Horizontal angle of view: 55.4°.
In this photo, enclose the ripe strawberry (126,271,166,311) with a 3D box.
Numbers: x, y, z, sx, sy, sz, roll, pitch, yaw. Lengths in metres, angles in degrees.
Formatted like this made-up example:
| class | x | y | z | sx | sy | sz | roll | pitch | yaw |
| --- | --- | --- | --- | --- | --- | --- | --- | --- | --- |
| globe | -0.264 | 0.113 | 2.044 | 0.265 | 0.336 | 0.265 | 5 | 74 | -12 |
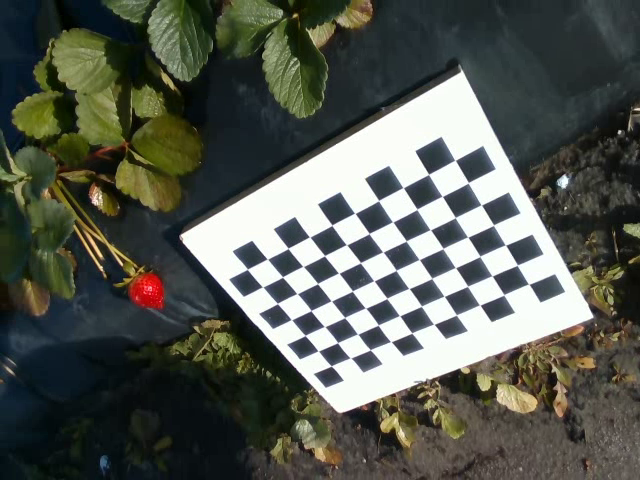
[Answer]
| class | x | y | z | sx | sy | sz | roll | pitch | yaw |
| --- | --- | --- | --- | --- | --- | --- | --- | --- | --- |
| ripe strawberry | -0.162 | 0.052 | 0.577 | 0.040 | 0.044 | 0.037 | -47 | 5 | 30 |
